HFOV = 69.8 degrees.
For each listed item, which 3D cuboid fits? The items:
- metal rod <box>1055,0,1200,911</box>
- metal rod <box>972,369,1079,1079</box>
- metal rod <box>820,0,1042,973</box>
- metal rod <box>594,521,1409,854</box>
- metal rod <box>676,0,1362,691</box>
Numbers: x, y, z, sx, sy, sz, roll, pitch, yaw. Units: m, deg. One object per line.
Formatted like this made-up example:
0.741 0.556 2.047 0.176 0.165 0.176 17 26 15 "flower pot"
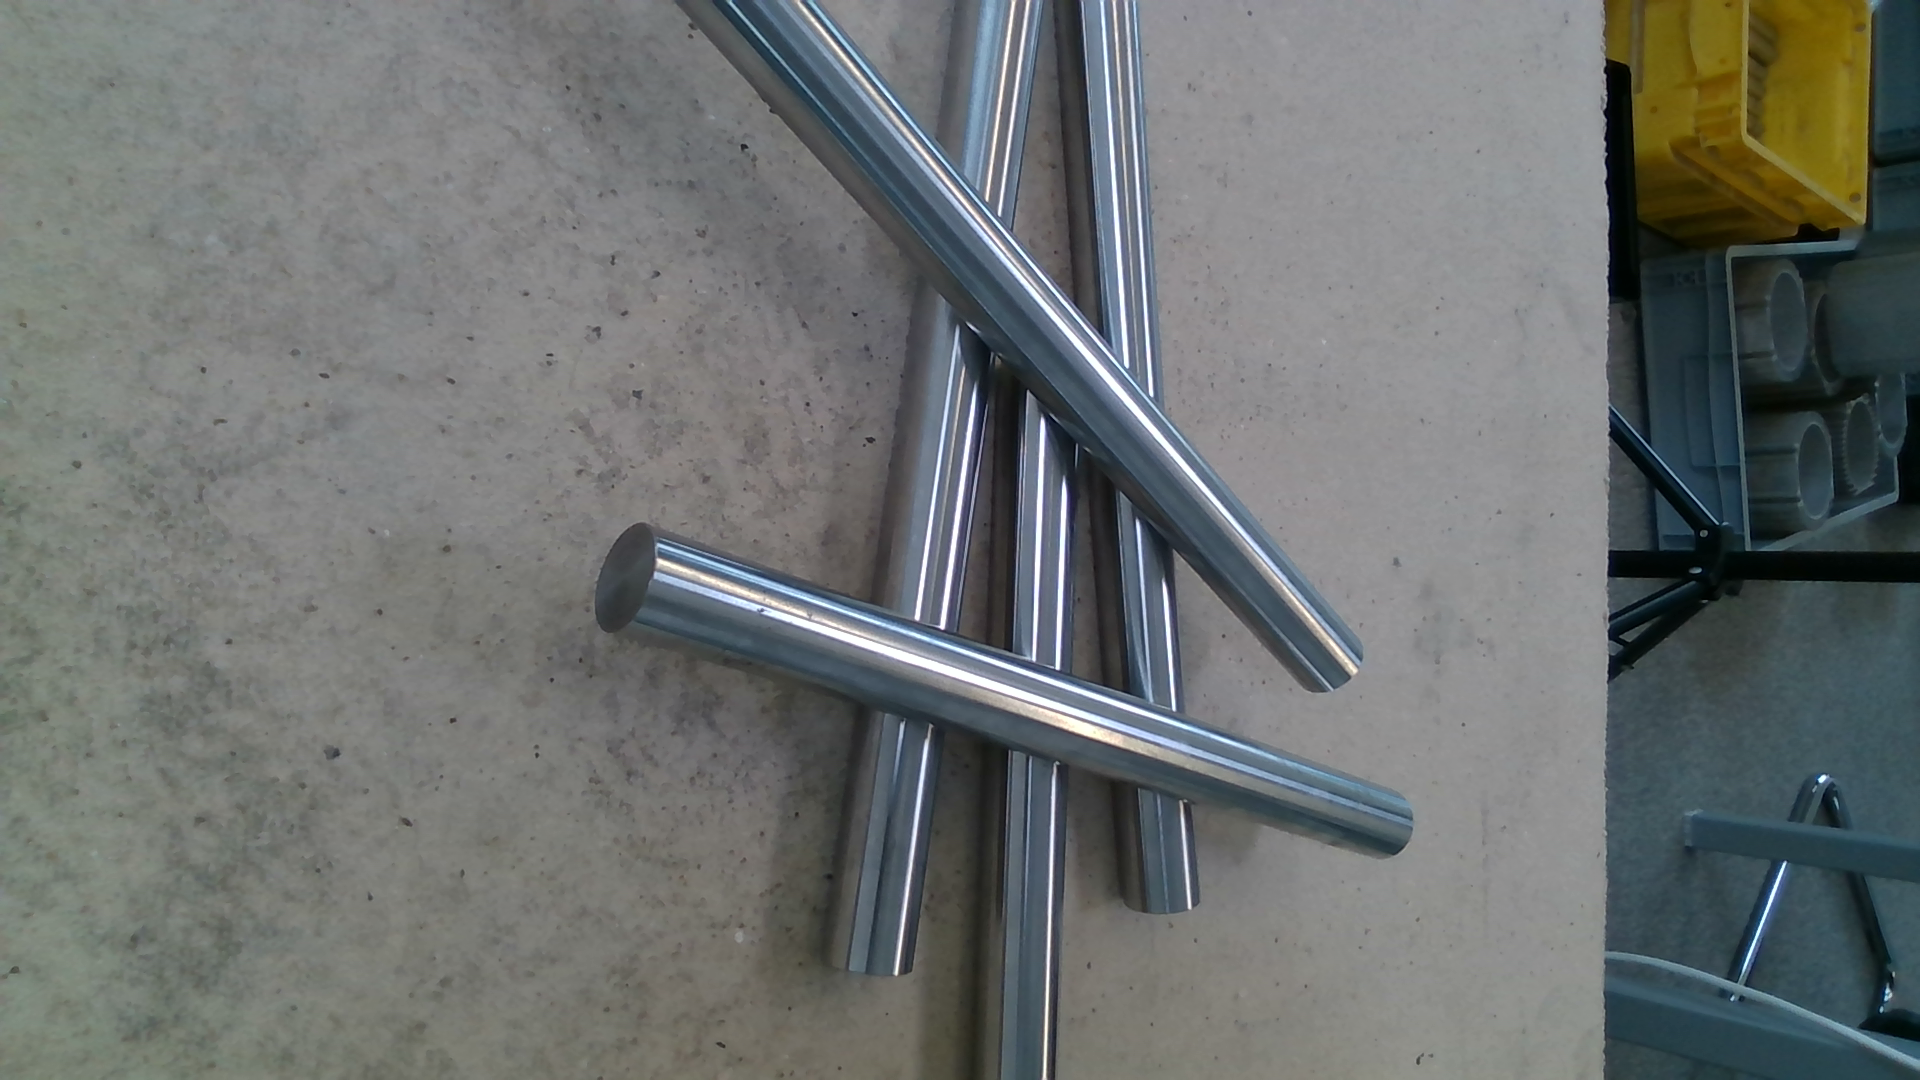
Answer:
0.053 -0.033 0.436 0.025 0.025 0.300 -8 95 -40 "metal rod"
0.018 0.096 0.407 0.025 0.025 0.300 4 88 -40 "metal rod"
-0.005 -0.034 0.387 0.025 0.025 0.300 13 82 -39 "metal rod"
0.037 0.053 0.390 0.301 0.025 0.025 22 76 -38 "metal rod"
0.031 -0.048 0.385 0.301 0.025 0.025 44 64 -32 "metal rod"
